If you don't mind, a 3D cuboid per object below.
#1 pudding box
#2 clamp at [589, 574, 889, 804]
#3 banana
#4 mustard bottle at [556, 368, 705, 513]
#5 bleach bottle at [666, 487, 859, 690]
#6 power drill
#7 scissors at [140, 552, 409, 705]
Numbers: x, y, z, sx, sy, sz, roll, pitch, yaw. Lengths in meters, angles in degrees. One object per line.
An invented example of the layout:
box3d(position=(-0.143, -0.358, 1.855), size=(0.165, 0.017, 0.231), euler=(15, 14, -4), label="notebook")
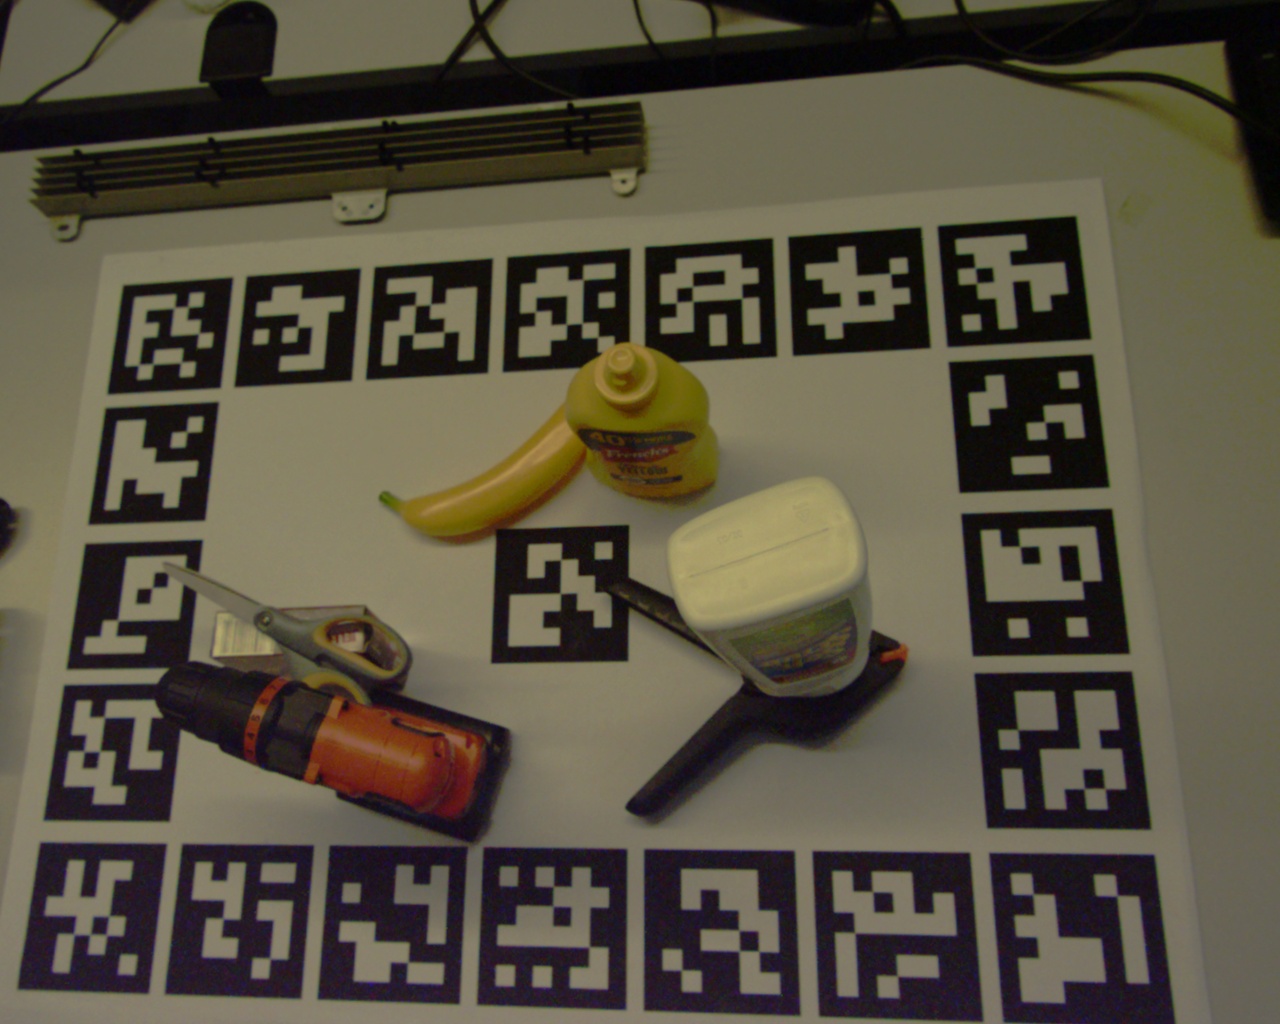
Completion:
box3d(position=(-0.243, 0.099, 0.841), size=(0.114, 0.089, 0.039), euler=(2, 67, 9), label="pudding box")
box3d(position=(0.071, 0.110, 0.799), size=(0.203, 0.036, 0.166), euler=(-8, 74, 5), label="clamp")
box3d(position=(-0.107, -0.045, 0.883), size=(0.197, 0.038, 0.075), euler=(-40, 55, -4), label="banana")
box3d(position=(-0.008, -0.053, 0.801), size=(0.097, 0.190, 0.058), euler=(12, 75, 10), label="mustard bottle")
box3d(position=(0.092, 0.064, 0.699), size=(0.103, 0.248, 0.068), euler=(-22, 68, 9), label="bleach bottle")
box3d(position=(-0.196, 0.156, 0.735), size=(0.186, 0.186, 0.057), euler=(11, 68, 14), label="power drill")
box3d(position=(-0.260, 0.074, 0.784), size=(0.204, 0.016, 0.087), euler=(24, 82, 10), label="scissors")
